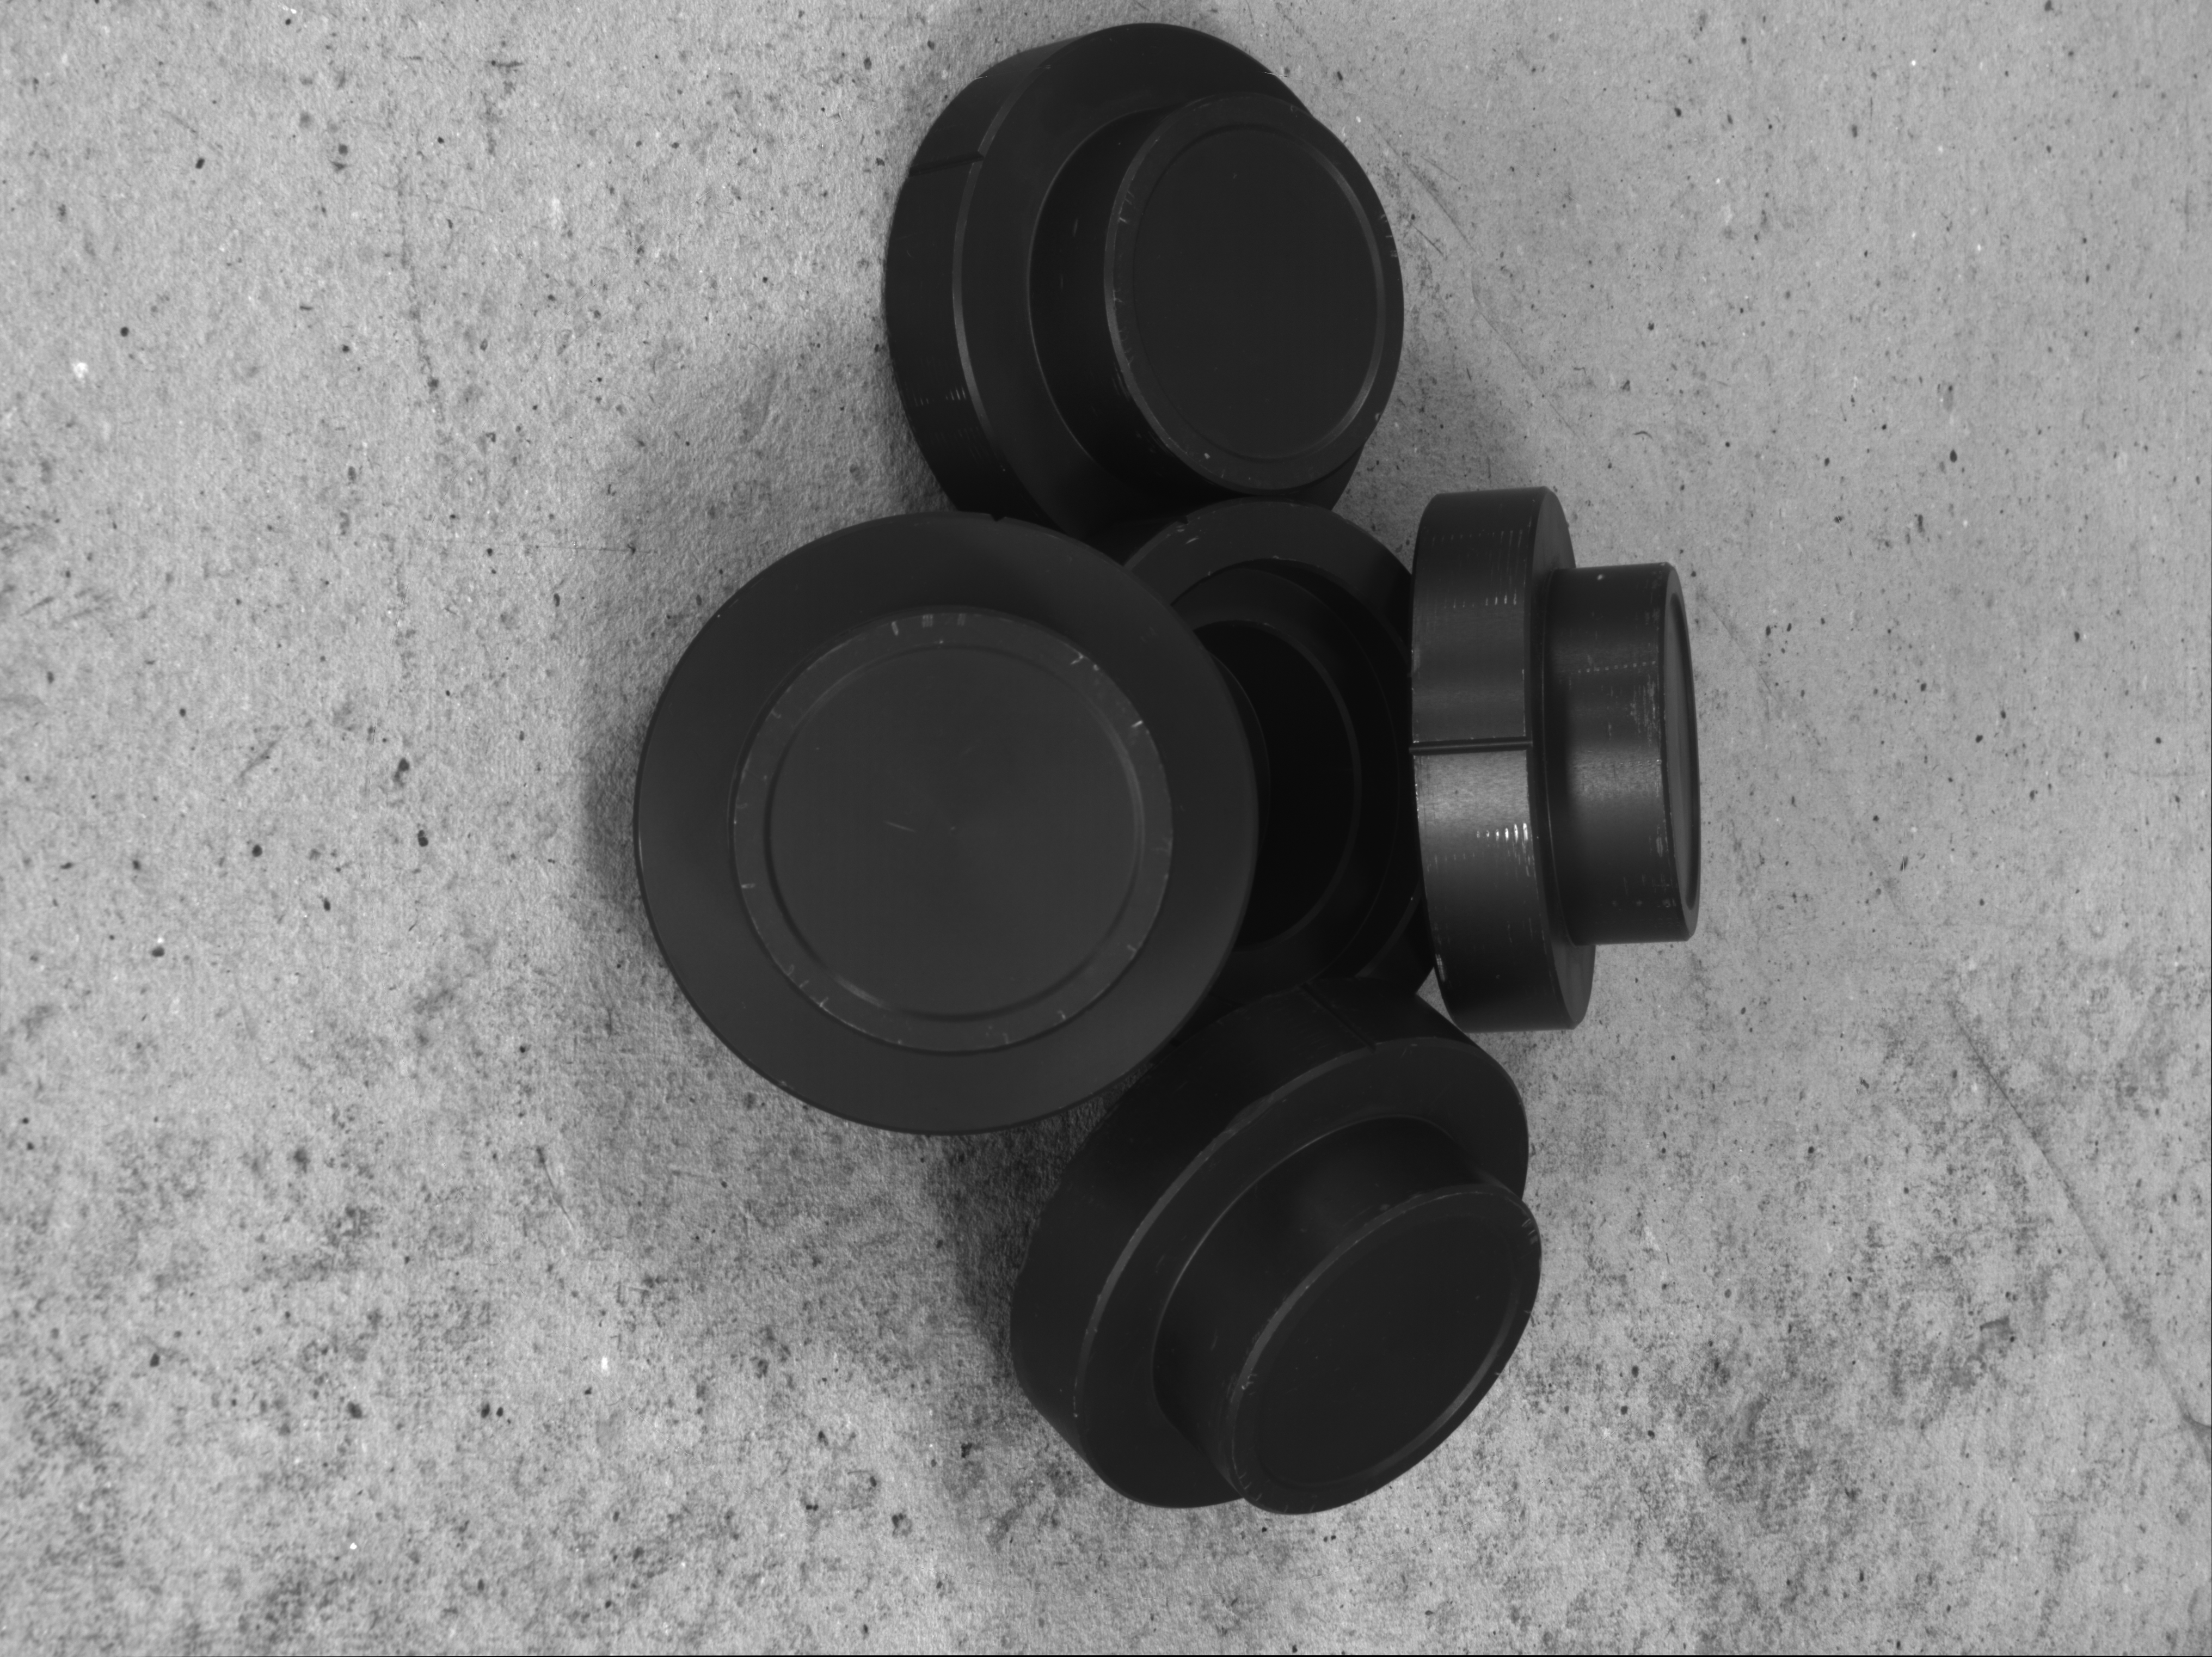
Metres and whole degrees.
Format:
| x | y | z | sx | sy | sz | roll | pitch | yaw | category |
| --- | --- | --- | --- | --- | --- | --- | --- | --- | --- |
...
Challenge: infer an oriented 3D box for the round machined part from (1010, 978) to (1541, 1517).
| x | y | z | sx | sy | sz | roll | pitch | yaw | category |
| --- | --- | --- | --- | --- | --- | --- | --- | --- | --- |
| 0.035 | 0.078 | 0.626 | 0.098 | 0.042 | 0.098 | -24 | 134 | -27 | round machined part |

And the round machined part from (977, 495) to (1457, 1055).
| x | y | z | sx | sy | sz | roll | pitch | yaw | category |
| --- | --- | --- | --- | --- | --- | --- | --- | --- | --- |
| 0.017 | -0.007 | 0.639 | 0.098 | 0.042 | 0.098 | 1 | 88 | -37 | round machined part |

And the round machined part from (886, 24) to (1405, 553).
| x | y | z | sx | sy | sz | roll | pitch | yaw | category |
| --- | --- | --- | --- | --- | --- | --- | --- | --- | --- |
| 0.013 | -0.090 | 0.636 | 0.098 | 0.042 | 0.098 | 2 | 87 | -39 | round machined part |

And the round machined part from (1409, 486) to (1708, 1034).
| x | y | z | sx | sy | sz | roll | pitch | yaw | category |
| --- | --- | --- | --- | --- | --- | --- | --- | --- | --- |
| 0.084 | -0.013 | 0.661 | 0.098 | 0.042 | 0.098 | -3 | 90 | -76 | round machined part |

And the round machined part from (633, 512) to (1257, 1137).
| x | y | z | sx | sy | sz | roll | pitch | yaw | category |
| --- | --- | --- | --- | --- | --- | --- | --- | --- | --- |
| -0.025 | 0.000 | 0.573 | 0.098 | 0.042 | 0.098 | 0 | 94 | -6 | round machined part |
